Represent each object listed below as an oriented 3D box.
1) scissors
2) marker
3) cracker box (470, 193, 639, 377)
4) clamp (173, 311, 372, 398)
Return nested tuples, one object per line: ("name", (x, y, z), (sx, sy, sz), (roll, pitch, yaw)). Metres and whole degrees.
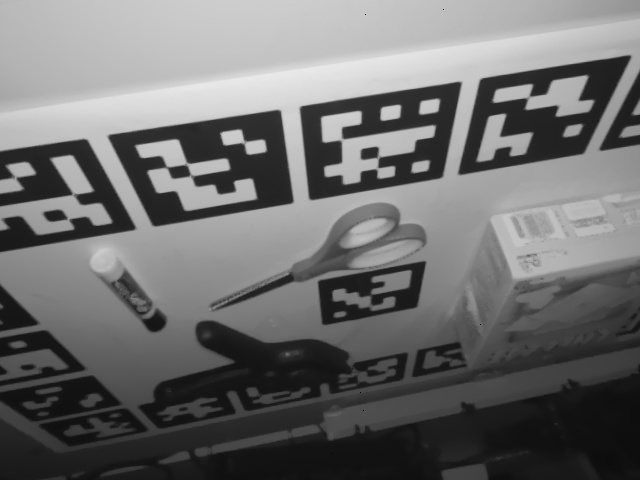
("scissors", (0.007, 0.022, 0.585), (0.200, 0.016, 0.088), (-25, 145, 21))
("marker", (-0.134, 0.043, 0.569), (0.020, 0.020, 0.120), (-12, 147, 0))
("cracker box", (0.245, 0.049, 0.657), (0.165, 0.072, 0.212), (-9, 146, -5))
("clamp", (-0.034, 0.130, 0.738), (0.205, 0.037, 0.162), (9, 142, -28))
